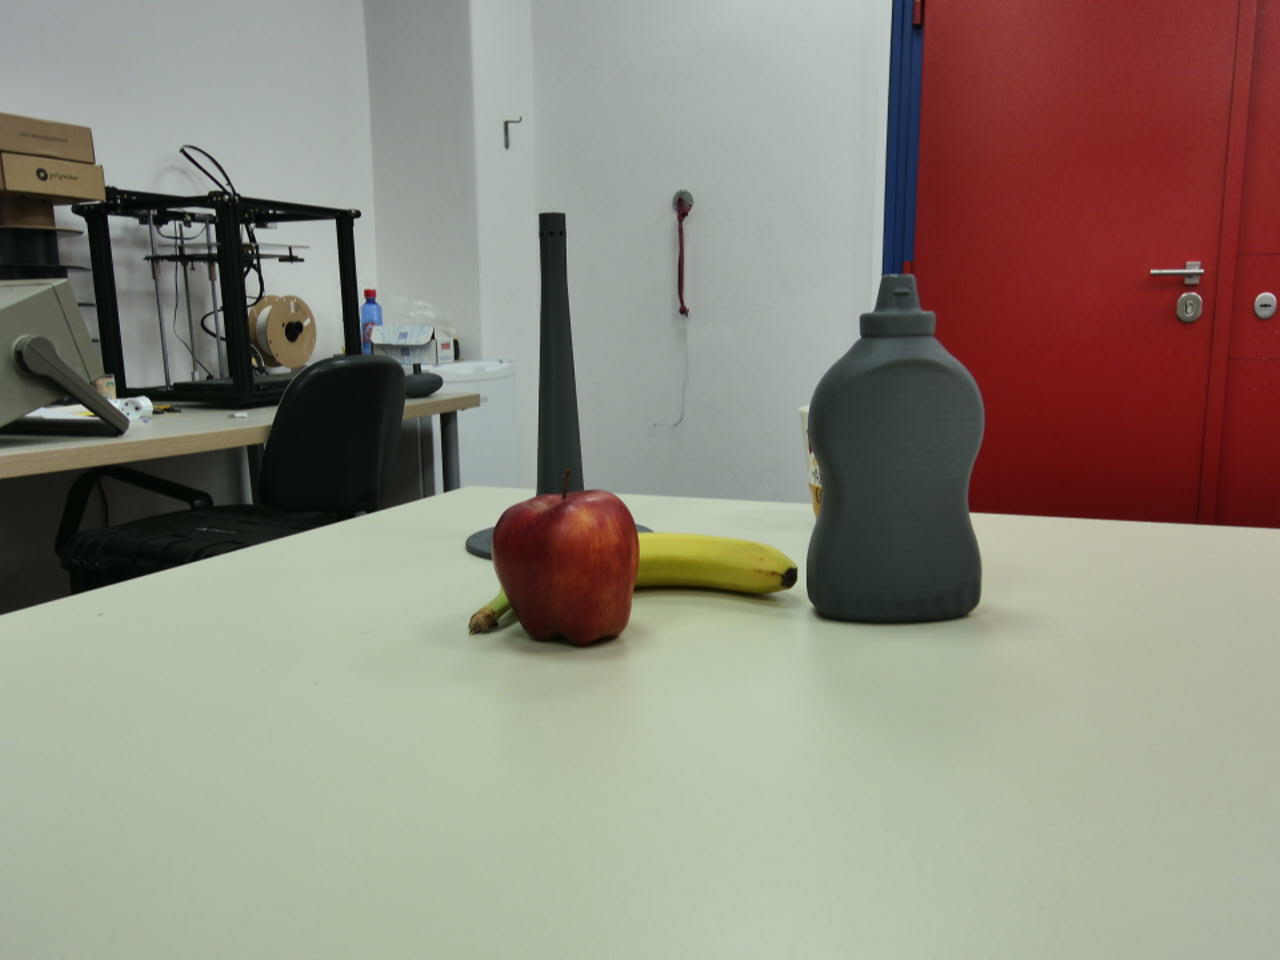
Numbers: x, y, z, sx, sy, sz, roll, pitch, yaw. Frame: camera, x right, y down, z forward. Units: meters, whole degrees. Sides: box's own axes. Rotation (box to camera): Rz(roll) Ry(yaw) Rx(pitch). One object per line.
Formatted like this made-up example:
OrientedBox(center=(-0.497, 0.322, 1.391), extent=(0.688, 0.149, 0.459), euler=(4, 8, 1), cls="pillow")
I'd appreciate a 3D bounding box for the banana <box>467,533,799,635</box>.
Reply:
OrientedBox(center=(-0.009, 0.057, 0.616), extent=(0.196, 0.041, 0.094), euler=(-1, 7, -12), cls="banana")
